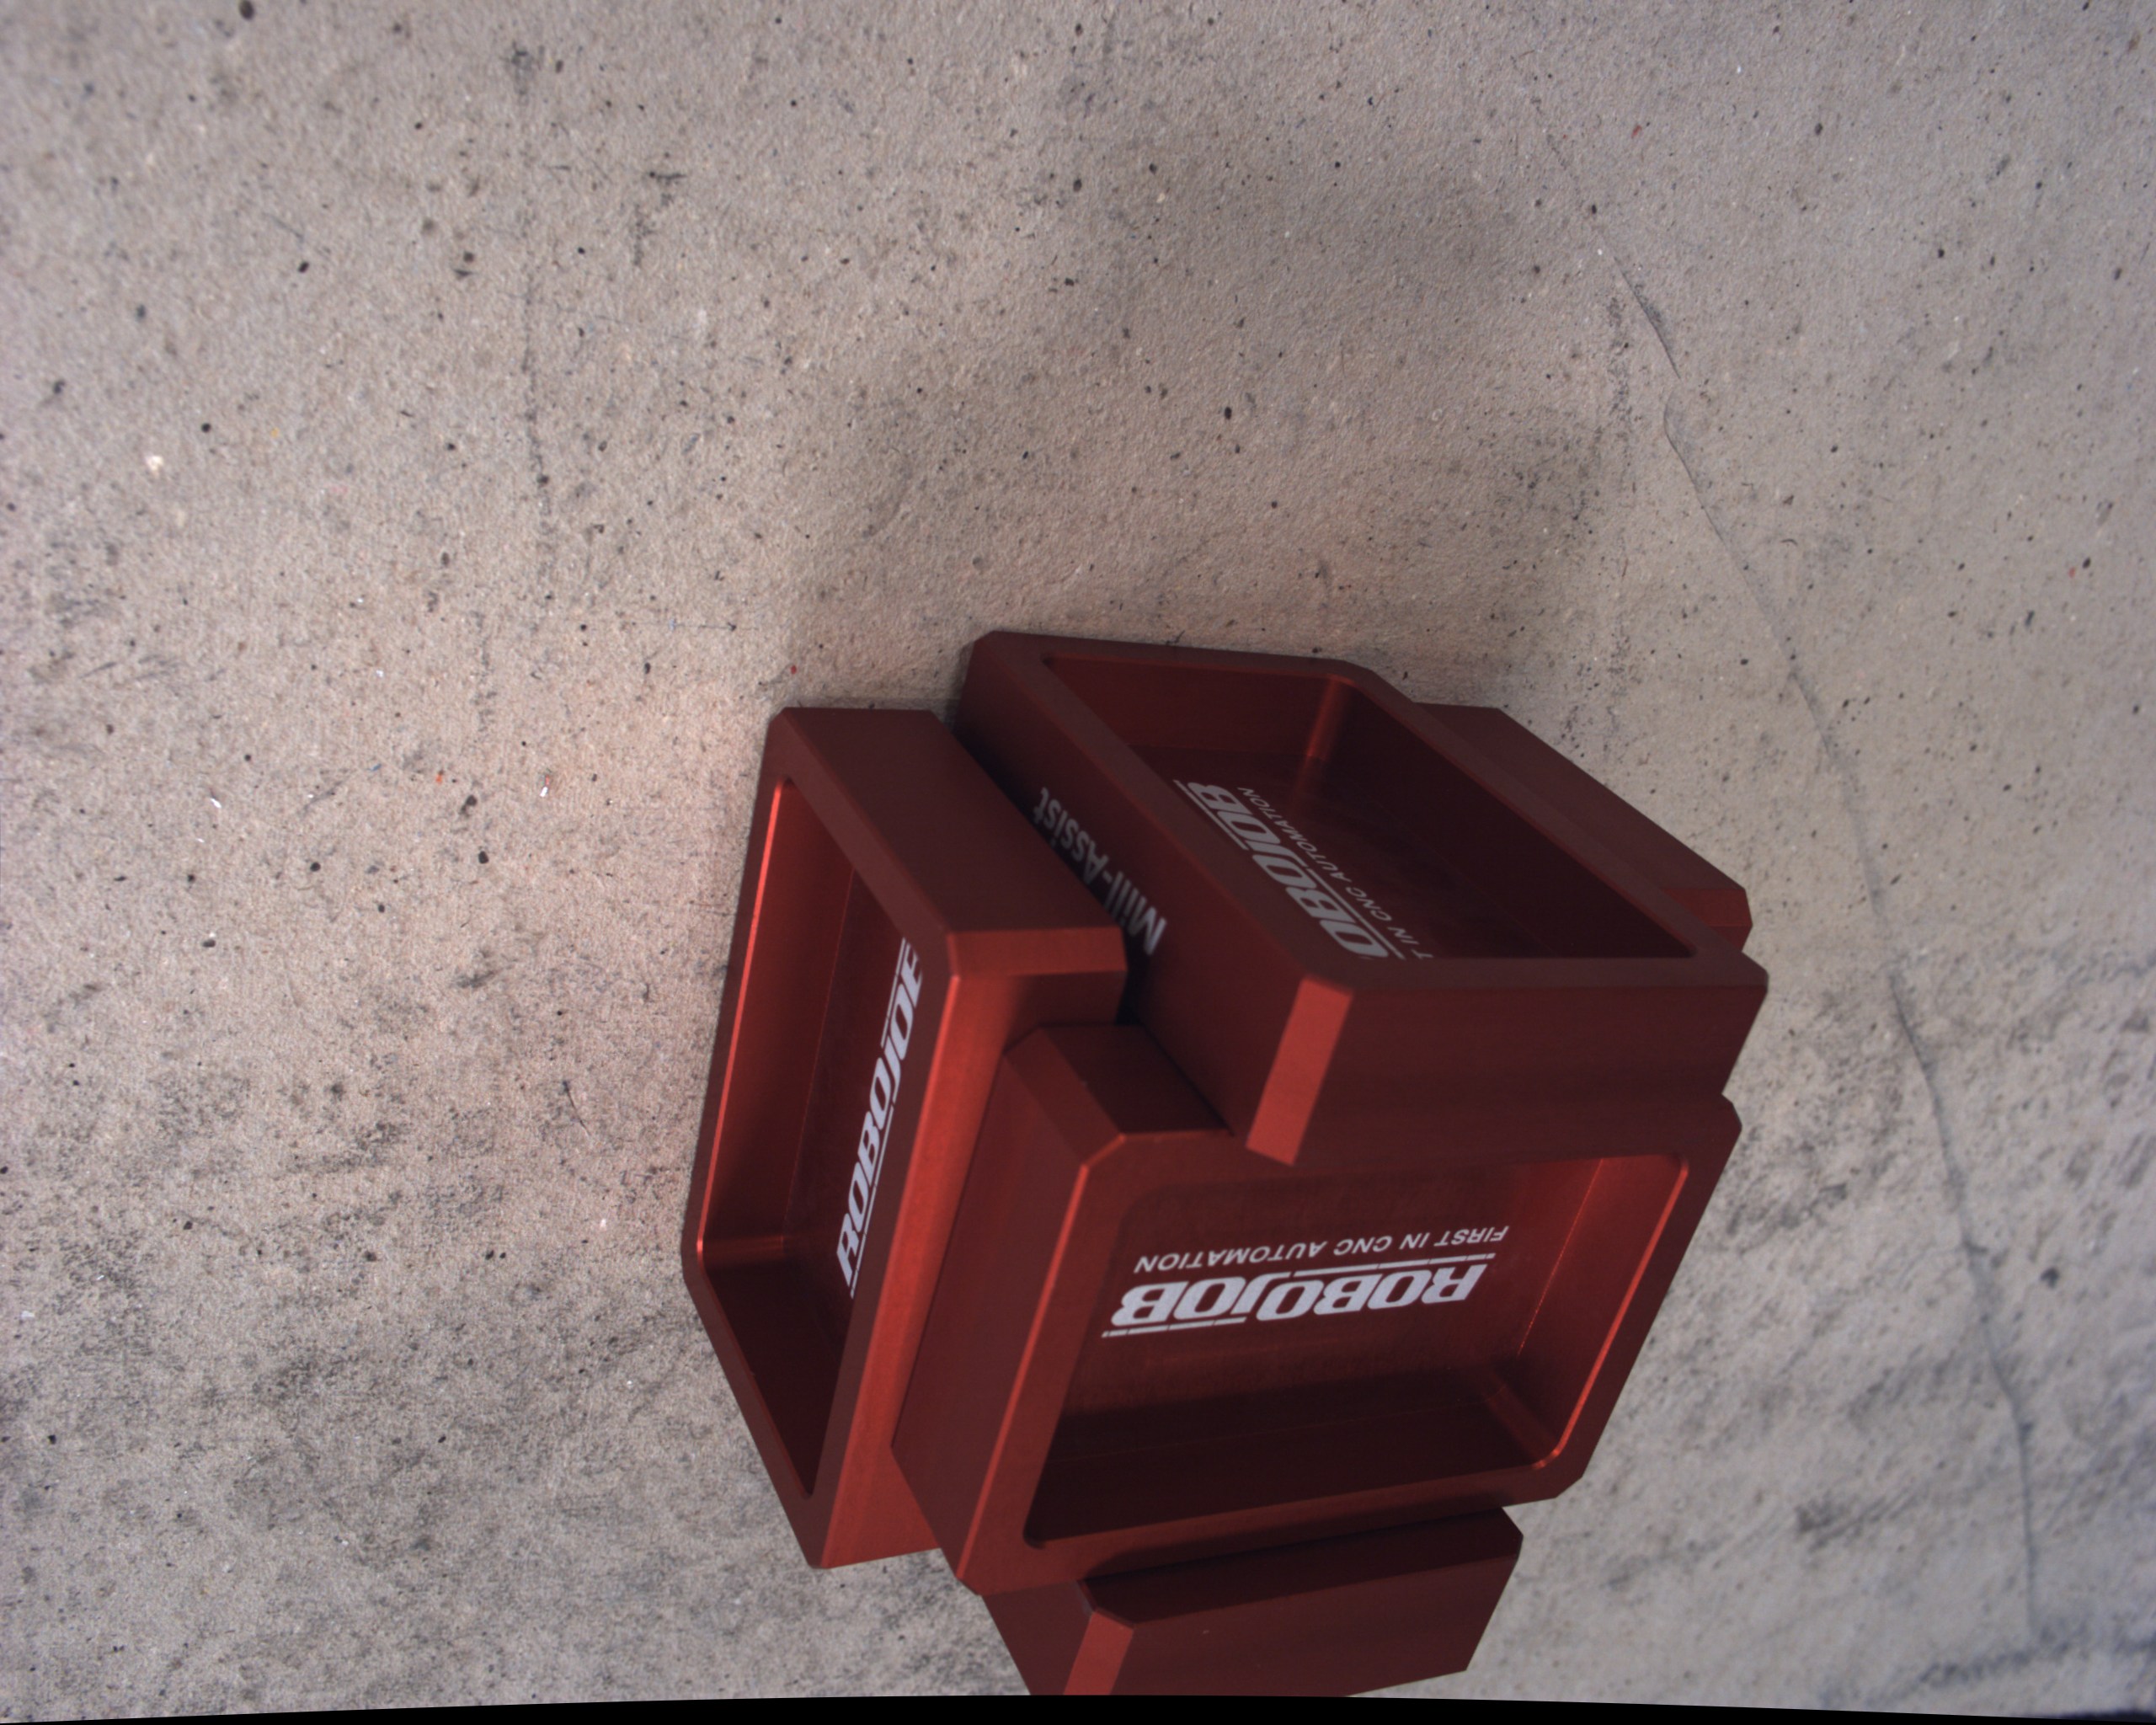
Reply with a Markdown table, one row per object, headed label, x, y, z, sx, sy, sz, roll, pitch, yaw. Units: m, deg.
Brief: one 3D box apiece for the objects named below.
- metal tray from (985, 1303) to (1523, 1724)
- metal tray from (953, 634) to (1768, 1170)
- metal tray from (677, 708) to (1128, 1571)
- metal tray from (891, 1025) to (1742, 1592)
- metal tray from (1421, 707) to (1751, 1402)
| label | x | y | z | sx | sy | sz | roll | pitch | yaw |
| --- | --- | --- | --- | --- | --- | --- | --- | --- | --- |
| metal tray | 0.014 | 0.106 | 0.413 | 0.091 | 0.130 | 0.030 | 1 | 118 | -29 |
| metal tray | 0.042 | 0.002 | 0.363 | 0.091 | 0.130 | 0.030 | 1 | 118 | -29 |
| metal tray | -0.037 | 0.048 | 0.375 | 0.030 | 0.090 | 0.129 | -1 | 119 | -29 |
| metal tray | 0.042 | 0.072 | 0.356 | 0.131 | 0.030 | 0.089 | 1 | 118 | -29 |
| metal tray | 0.078 | 0.043 | 0.435 | 0.030 | 0.090 | 0.129 | 2 | 116 | -29 |
